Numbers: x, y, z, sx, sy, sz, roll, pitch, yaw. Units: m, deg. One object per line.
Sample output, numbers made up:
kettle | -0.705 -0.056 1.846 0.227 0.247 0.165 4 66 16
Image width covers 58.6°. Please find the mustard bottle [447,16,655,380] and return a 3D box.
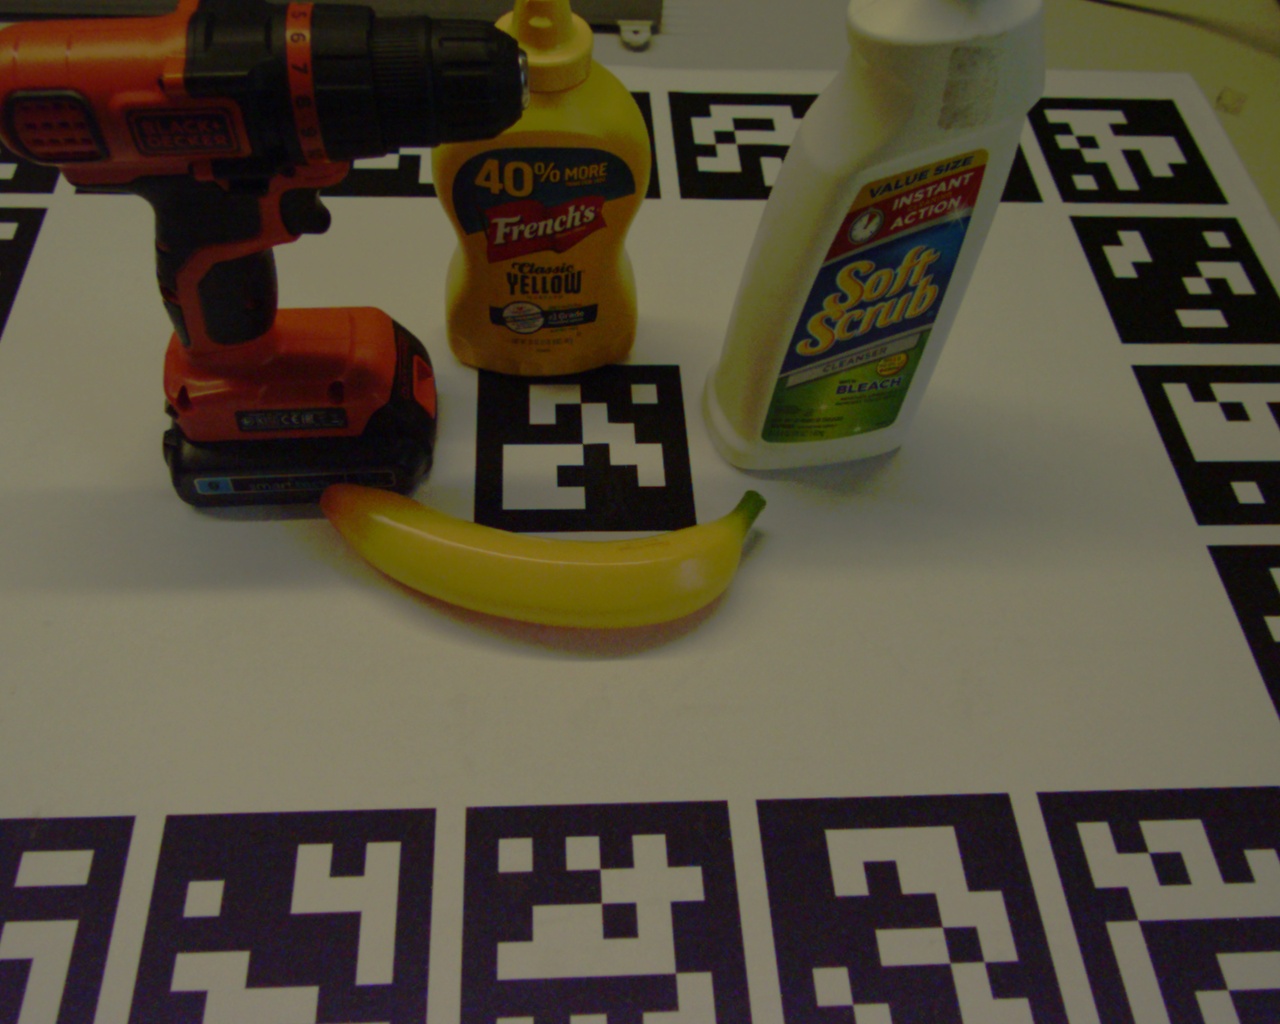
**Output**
mustard bottle | -0.043 -0.144 0.542 0.096 0.191 0.059 -1 56 -7

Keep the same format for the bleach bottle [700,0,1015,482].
bleach bottle | 0.093 -0.113 0.504 0.102 0.250 0.068 -9 58 -11

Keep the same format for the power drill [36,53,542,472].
power drill | -0.136 -0.101 0.483 0.183 0.187 0.058 -3 49 -10

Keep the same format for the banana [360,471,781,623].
banana | -0.030 0.016 0.523 0.197 0.039 0.074 0 60 -2
